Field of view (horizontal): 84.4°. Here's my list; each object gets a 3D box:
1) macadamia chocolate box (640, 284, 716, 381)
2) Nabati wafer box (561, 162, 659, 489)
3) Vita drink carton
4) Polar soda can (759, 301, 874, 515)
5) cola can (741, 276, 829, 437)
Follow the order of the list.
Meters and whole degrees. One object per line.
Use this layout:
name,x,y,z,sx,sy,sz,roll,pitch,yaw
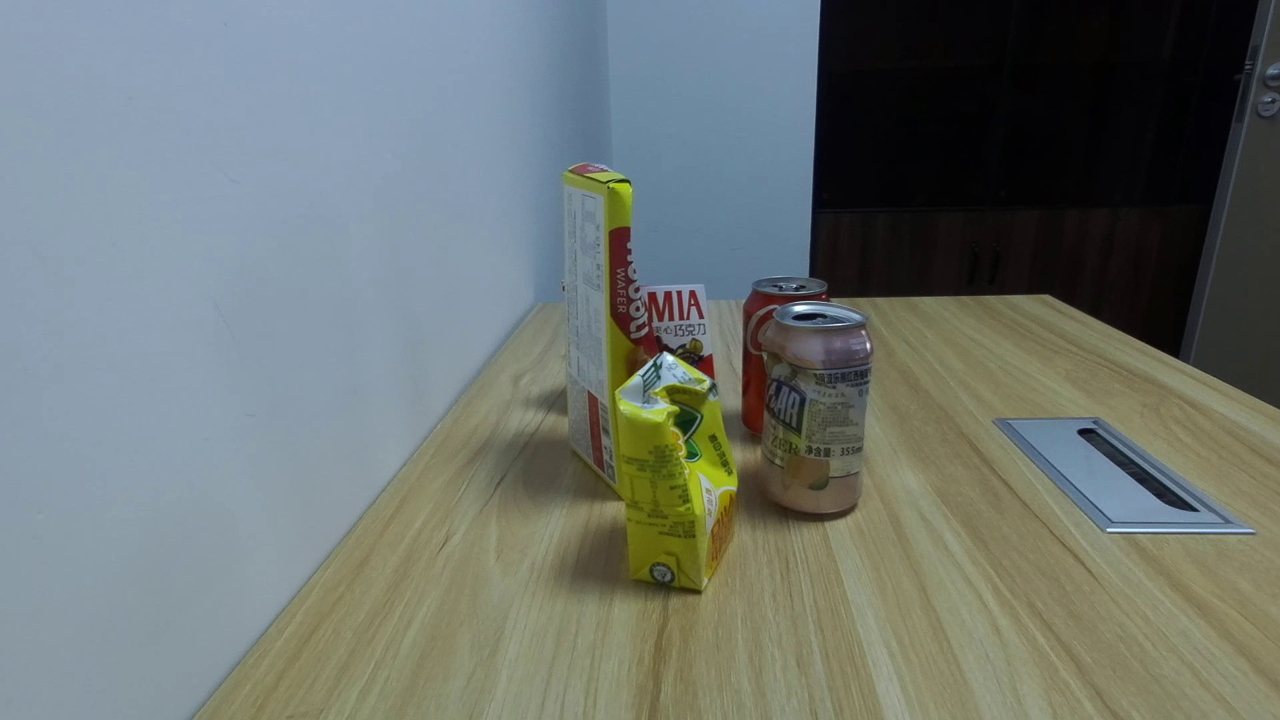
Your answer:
macadamia chocolate box,0.000,-0.018,0.602,0.127,0.112,0.056,-8,19,-15
Nabati wafer box,-0.018,-0.020,0.465,0.043,0.205,0.113,-11,22,-23
Vita drink carton,0.023,0.058,0.379,0.046,0.110,0.071,4,20,23
Polar soda can,0.109,0.030,0.439,0.067,0.122,0.074,7,20,22
cola can,0.111,-0.002,0.533,0.068,0.120,0.068,0,18,0
